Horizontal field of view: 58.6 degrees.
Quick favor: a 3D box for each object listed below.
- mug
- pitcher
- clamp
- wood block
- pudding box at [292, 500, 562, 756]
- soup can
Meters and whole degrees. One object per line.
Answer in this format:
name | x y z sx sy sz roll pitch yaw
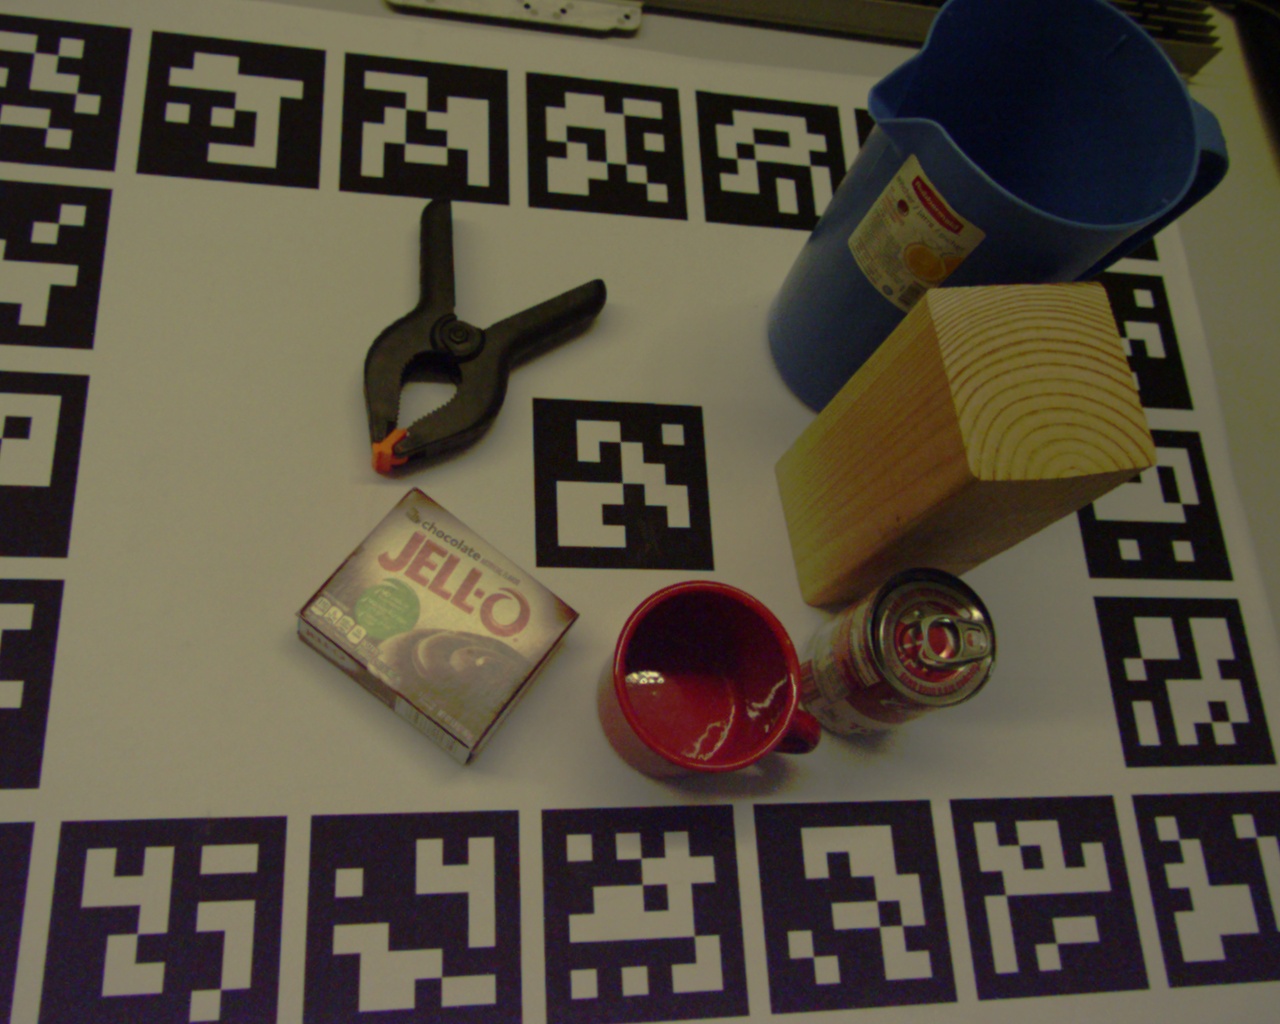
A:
mug | 0.033 0.102 0.602 0.117 0.082 0.093 34 64 2
pitcher | 0.167 -0.141 0.635 0.188 0.243 0.134 -1 68 -10
clamp | -0.104 -0.087 0.675 0.121 0.037 0.165 30 67 -8
wood block | 0.147 -0.021 0.603 0.089 0.207 0.091 -1 70 -17
pudding box | -0.113 0.063 0.612 0.114 0.039 0.089 36 70 3
soup can | 0.125 0.081 0.617 0.067 0.102 0.068 4 72 -12
